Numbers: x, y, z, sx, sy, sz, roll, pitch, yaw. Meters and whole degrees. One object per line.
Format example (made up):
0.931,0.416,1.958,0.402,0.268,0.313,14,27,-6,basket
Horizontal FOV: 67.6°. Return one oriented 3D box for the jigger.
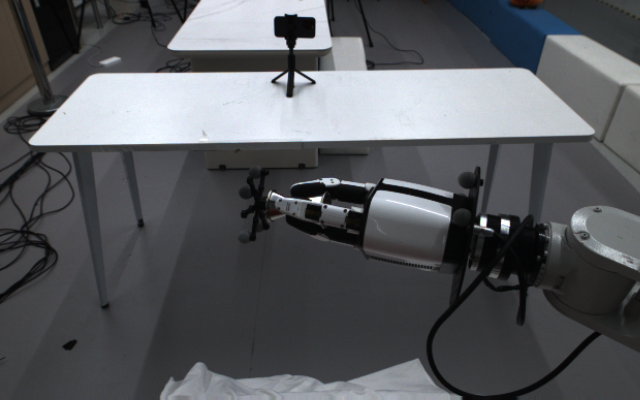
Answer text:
-0.018,0.006,0.568,0.071,0.043,0.043,4,34,15,jigger
